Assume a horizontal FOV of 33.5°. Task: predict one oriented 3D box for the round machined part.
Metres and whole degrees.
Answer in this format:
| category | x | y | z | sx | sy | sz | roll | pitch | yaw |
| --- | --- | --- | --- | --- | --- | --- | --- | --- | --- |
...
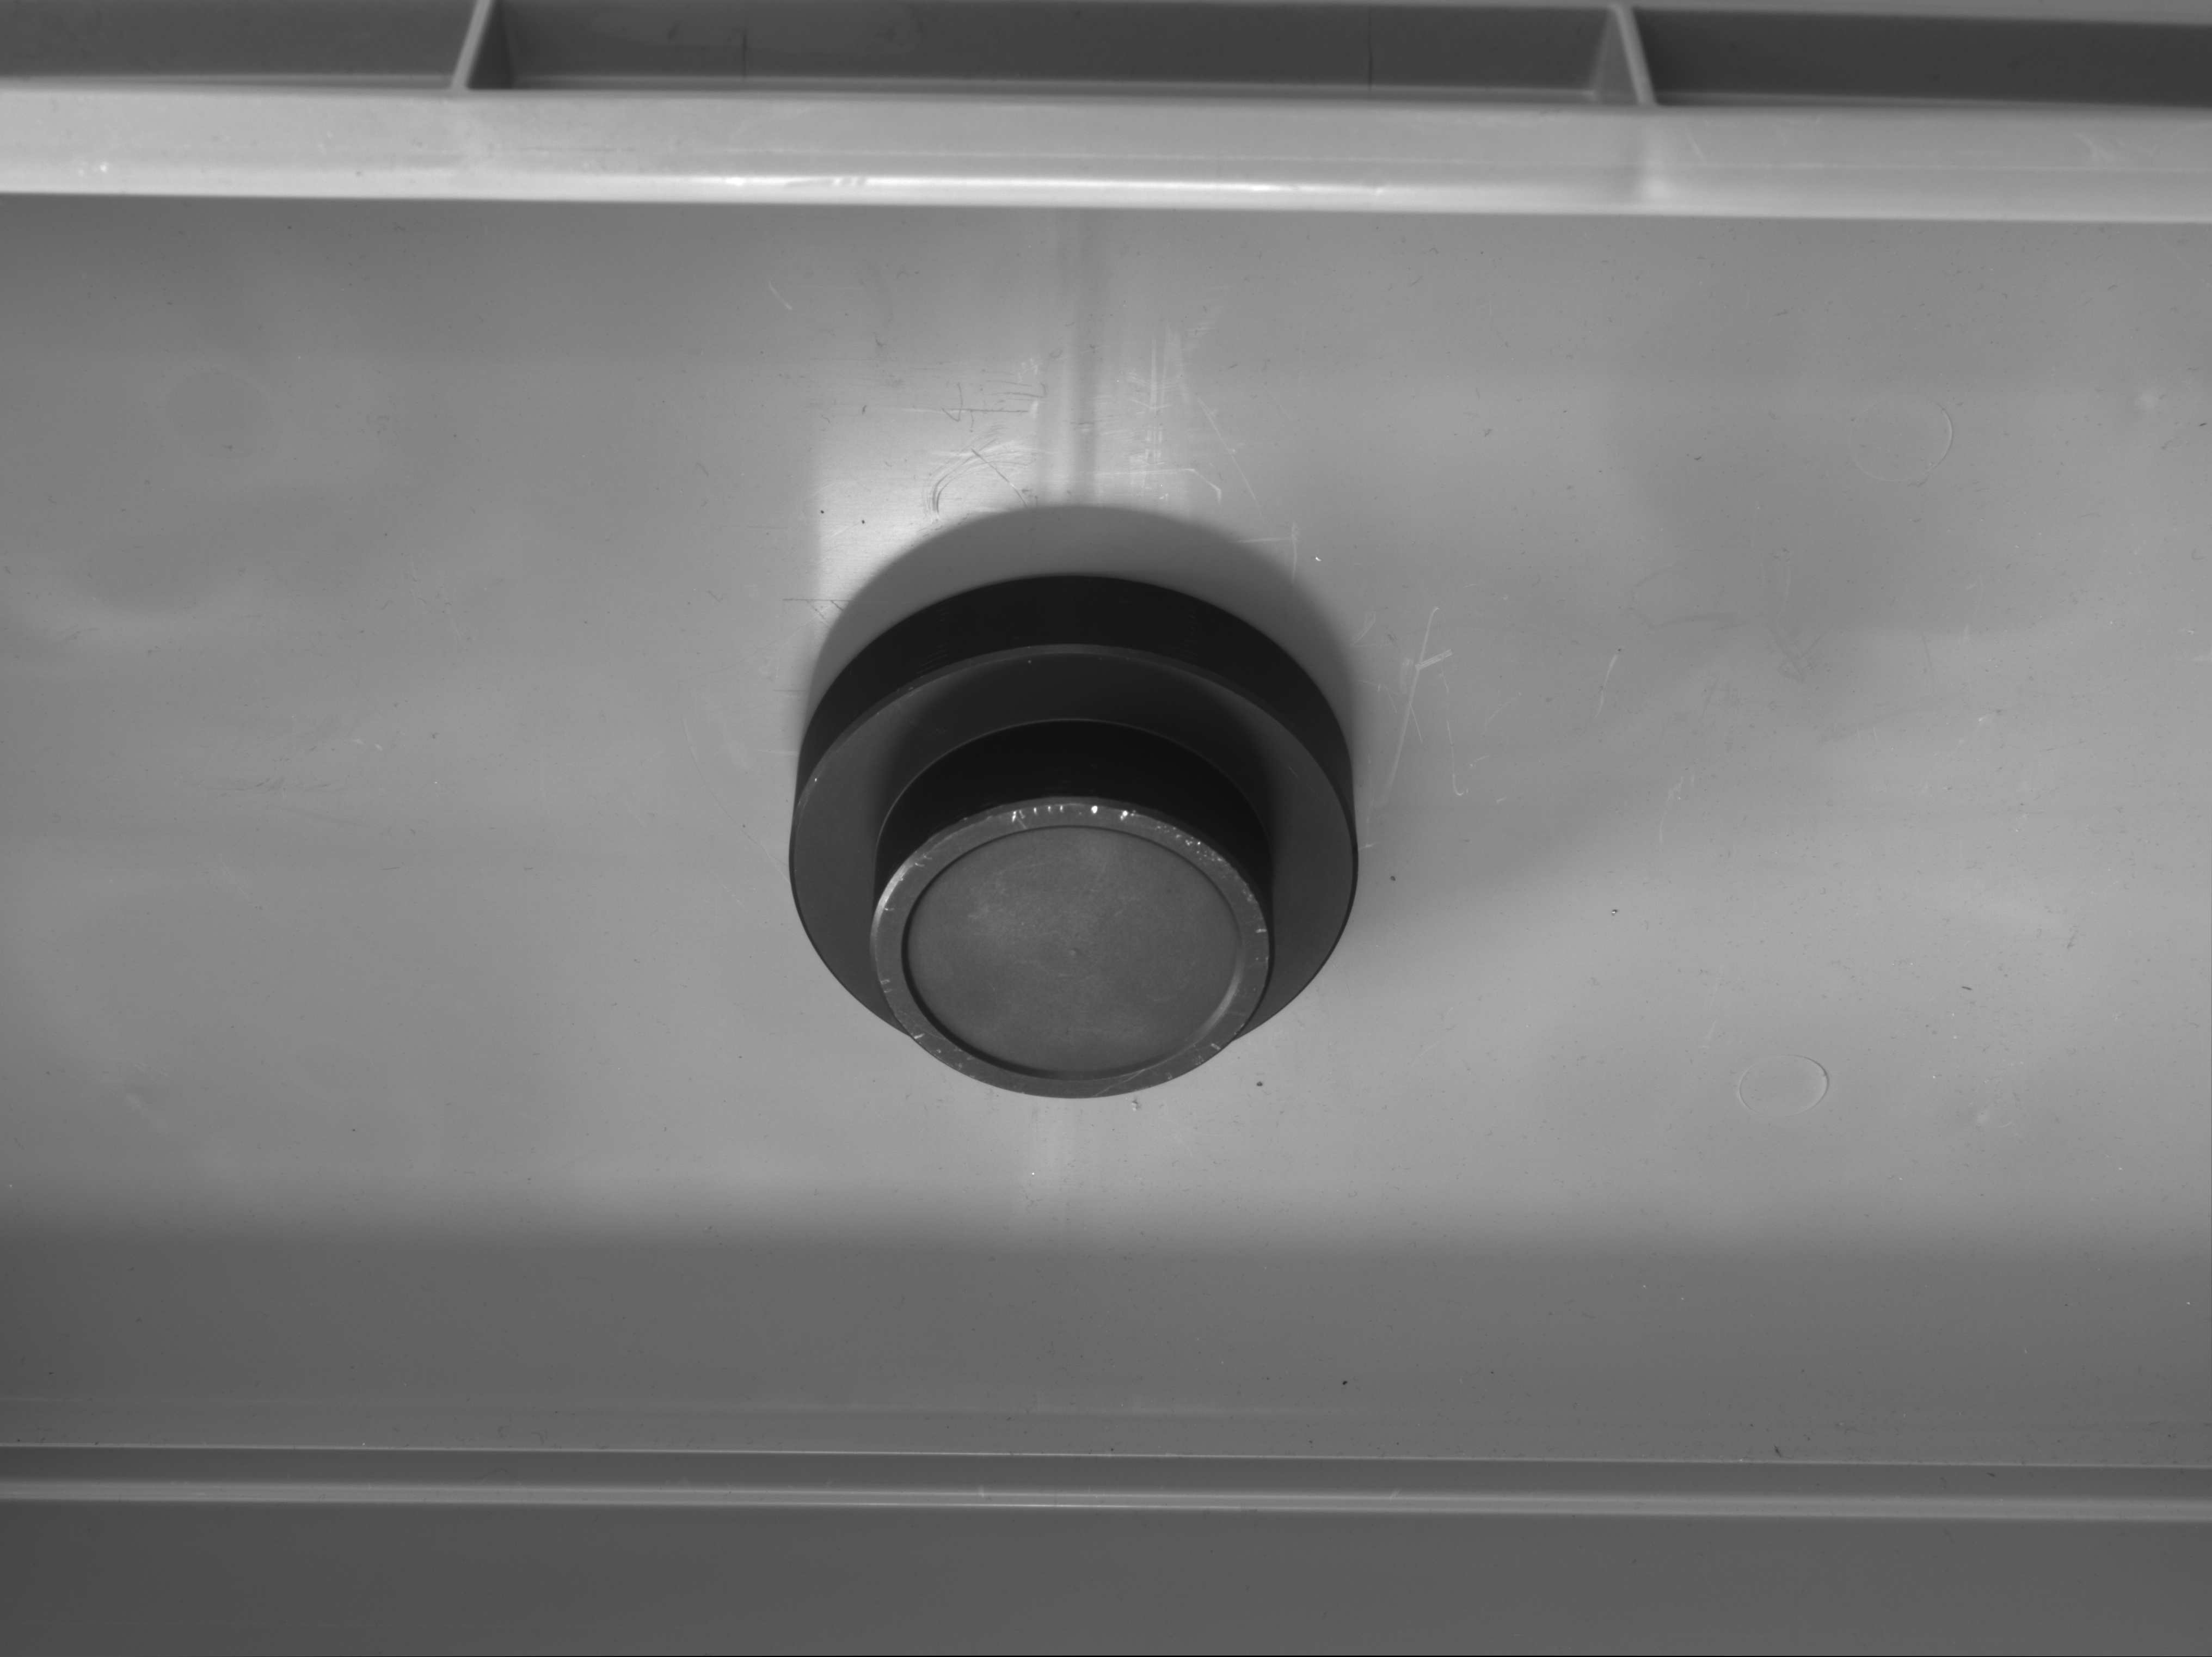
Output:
| category | x | y | z | sx | sy | sz | roll | pitch | yaw |
| --- | --- | --- | --- | --- | --- | --- | --- | --- | --- |
| round machined part | -0.005 | 0.008 | 0.632 | 0.098 | 0.042 | 0.098 | 0 | 130 | 0 |
